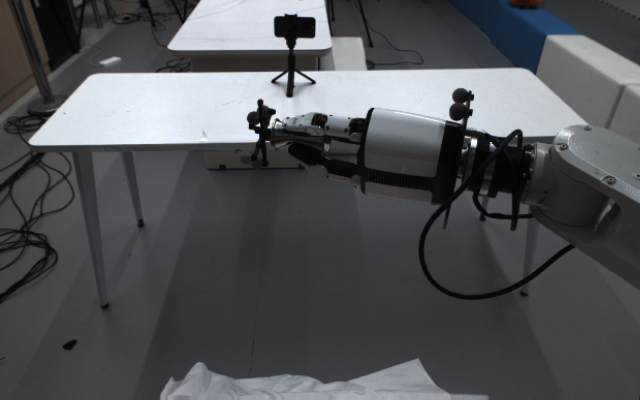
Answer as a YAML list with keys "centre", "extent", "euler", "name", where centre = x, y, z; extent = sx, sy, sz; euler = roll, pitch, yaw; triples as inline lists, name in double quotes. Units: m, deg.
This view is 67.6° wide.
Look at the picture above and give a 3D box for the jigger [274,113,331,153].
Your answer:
- centre: [-0.017, -0.084, 0.604]
  extent: [0.071, 0.043, 0.043]
  euler: [4, 34, 13]
  name: "jigger"
